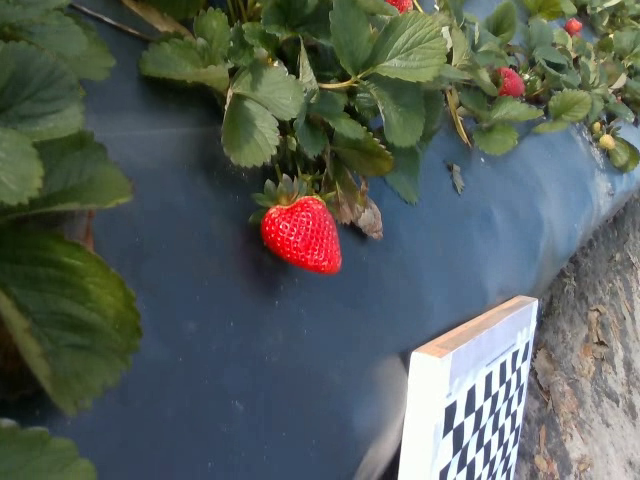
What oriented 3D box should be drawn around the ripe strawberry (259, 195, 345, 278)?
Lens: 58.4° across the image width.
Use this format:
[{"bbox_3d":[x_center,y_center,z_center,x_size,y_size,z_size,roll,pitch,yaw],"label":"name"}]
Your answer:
[{"bbox_3d":[-0.007,0.000,0.322,0.051,0.058,0.045,-47,-24,24],"label":"ripe strawberry"}]
